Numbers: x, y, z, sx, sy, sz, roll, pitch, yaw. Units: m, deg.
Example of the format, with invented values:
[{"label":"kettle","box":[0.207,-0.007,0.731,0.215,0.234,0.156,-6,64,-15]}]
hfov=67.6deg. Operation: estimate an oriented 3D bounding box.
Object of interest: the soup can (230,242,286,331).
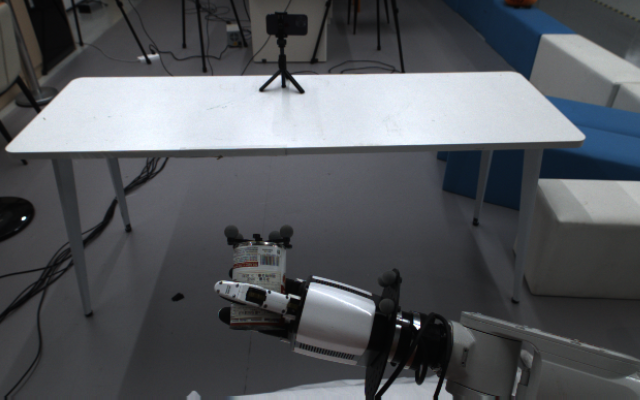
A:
[{"label":"soup can","box":[-0.075,0.109,0.598,0.067,0.067,0.101,1,73,-2]}]
